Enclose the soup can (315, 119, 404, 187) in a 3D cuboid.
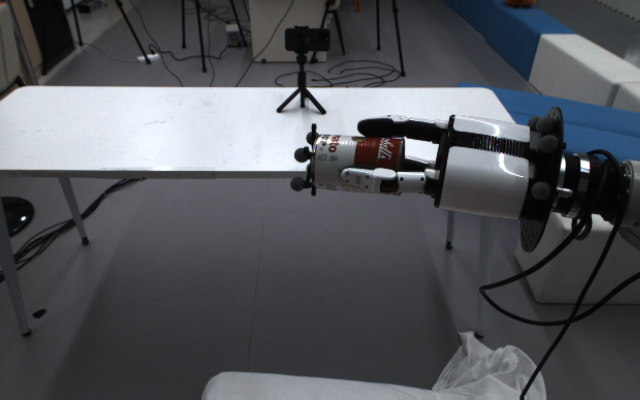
[{"bbox_3d":[0.049,-0.043,0.575,0.101,0.067,0.067,5,34,13],"label":"soup can"}]
